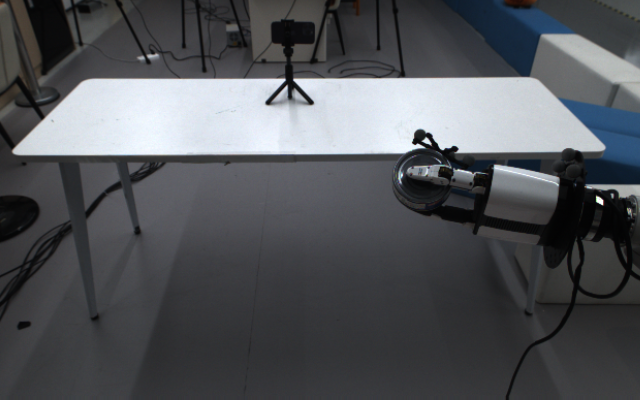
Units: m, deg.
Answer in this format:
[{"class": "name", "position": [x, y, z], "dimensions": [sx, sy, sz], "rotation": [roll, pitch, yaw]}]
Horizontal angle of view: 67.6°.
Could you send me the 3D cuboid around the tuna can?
[{"class": "tuna can", "position": [0.149, -0.024, 0.685], "dimensions": [0.085, 0.034, 0.085], "rotation": [-4, 69, 10]}]
